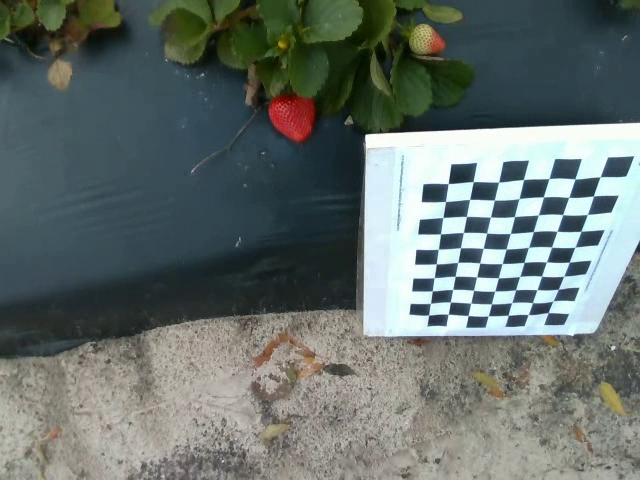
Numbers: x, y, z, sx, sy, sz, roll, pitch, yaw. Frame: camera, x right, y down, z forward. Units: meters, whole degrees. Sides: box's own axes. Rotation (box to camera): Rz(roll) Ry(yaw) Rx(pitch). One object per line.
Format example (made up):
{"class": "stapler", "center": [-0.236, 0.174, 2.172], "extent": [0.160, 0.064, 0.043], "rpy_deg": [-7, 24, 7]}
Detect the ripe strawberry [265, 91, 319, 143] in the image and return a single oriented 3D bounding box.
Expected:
{"class": "ripe strawberry", "center": [-0.023, -0.093, 0.503], "extent": [0.037, 0.046, 0.036], "rpy_deg": [-32, -14, 37]}
